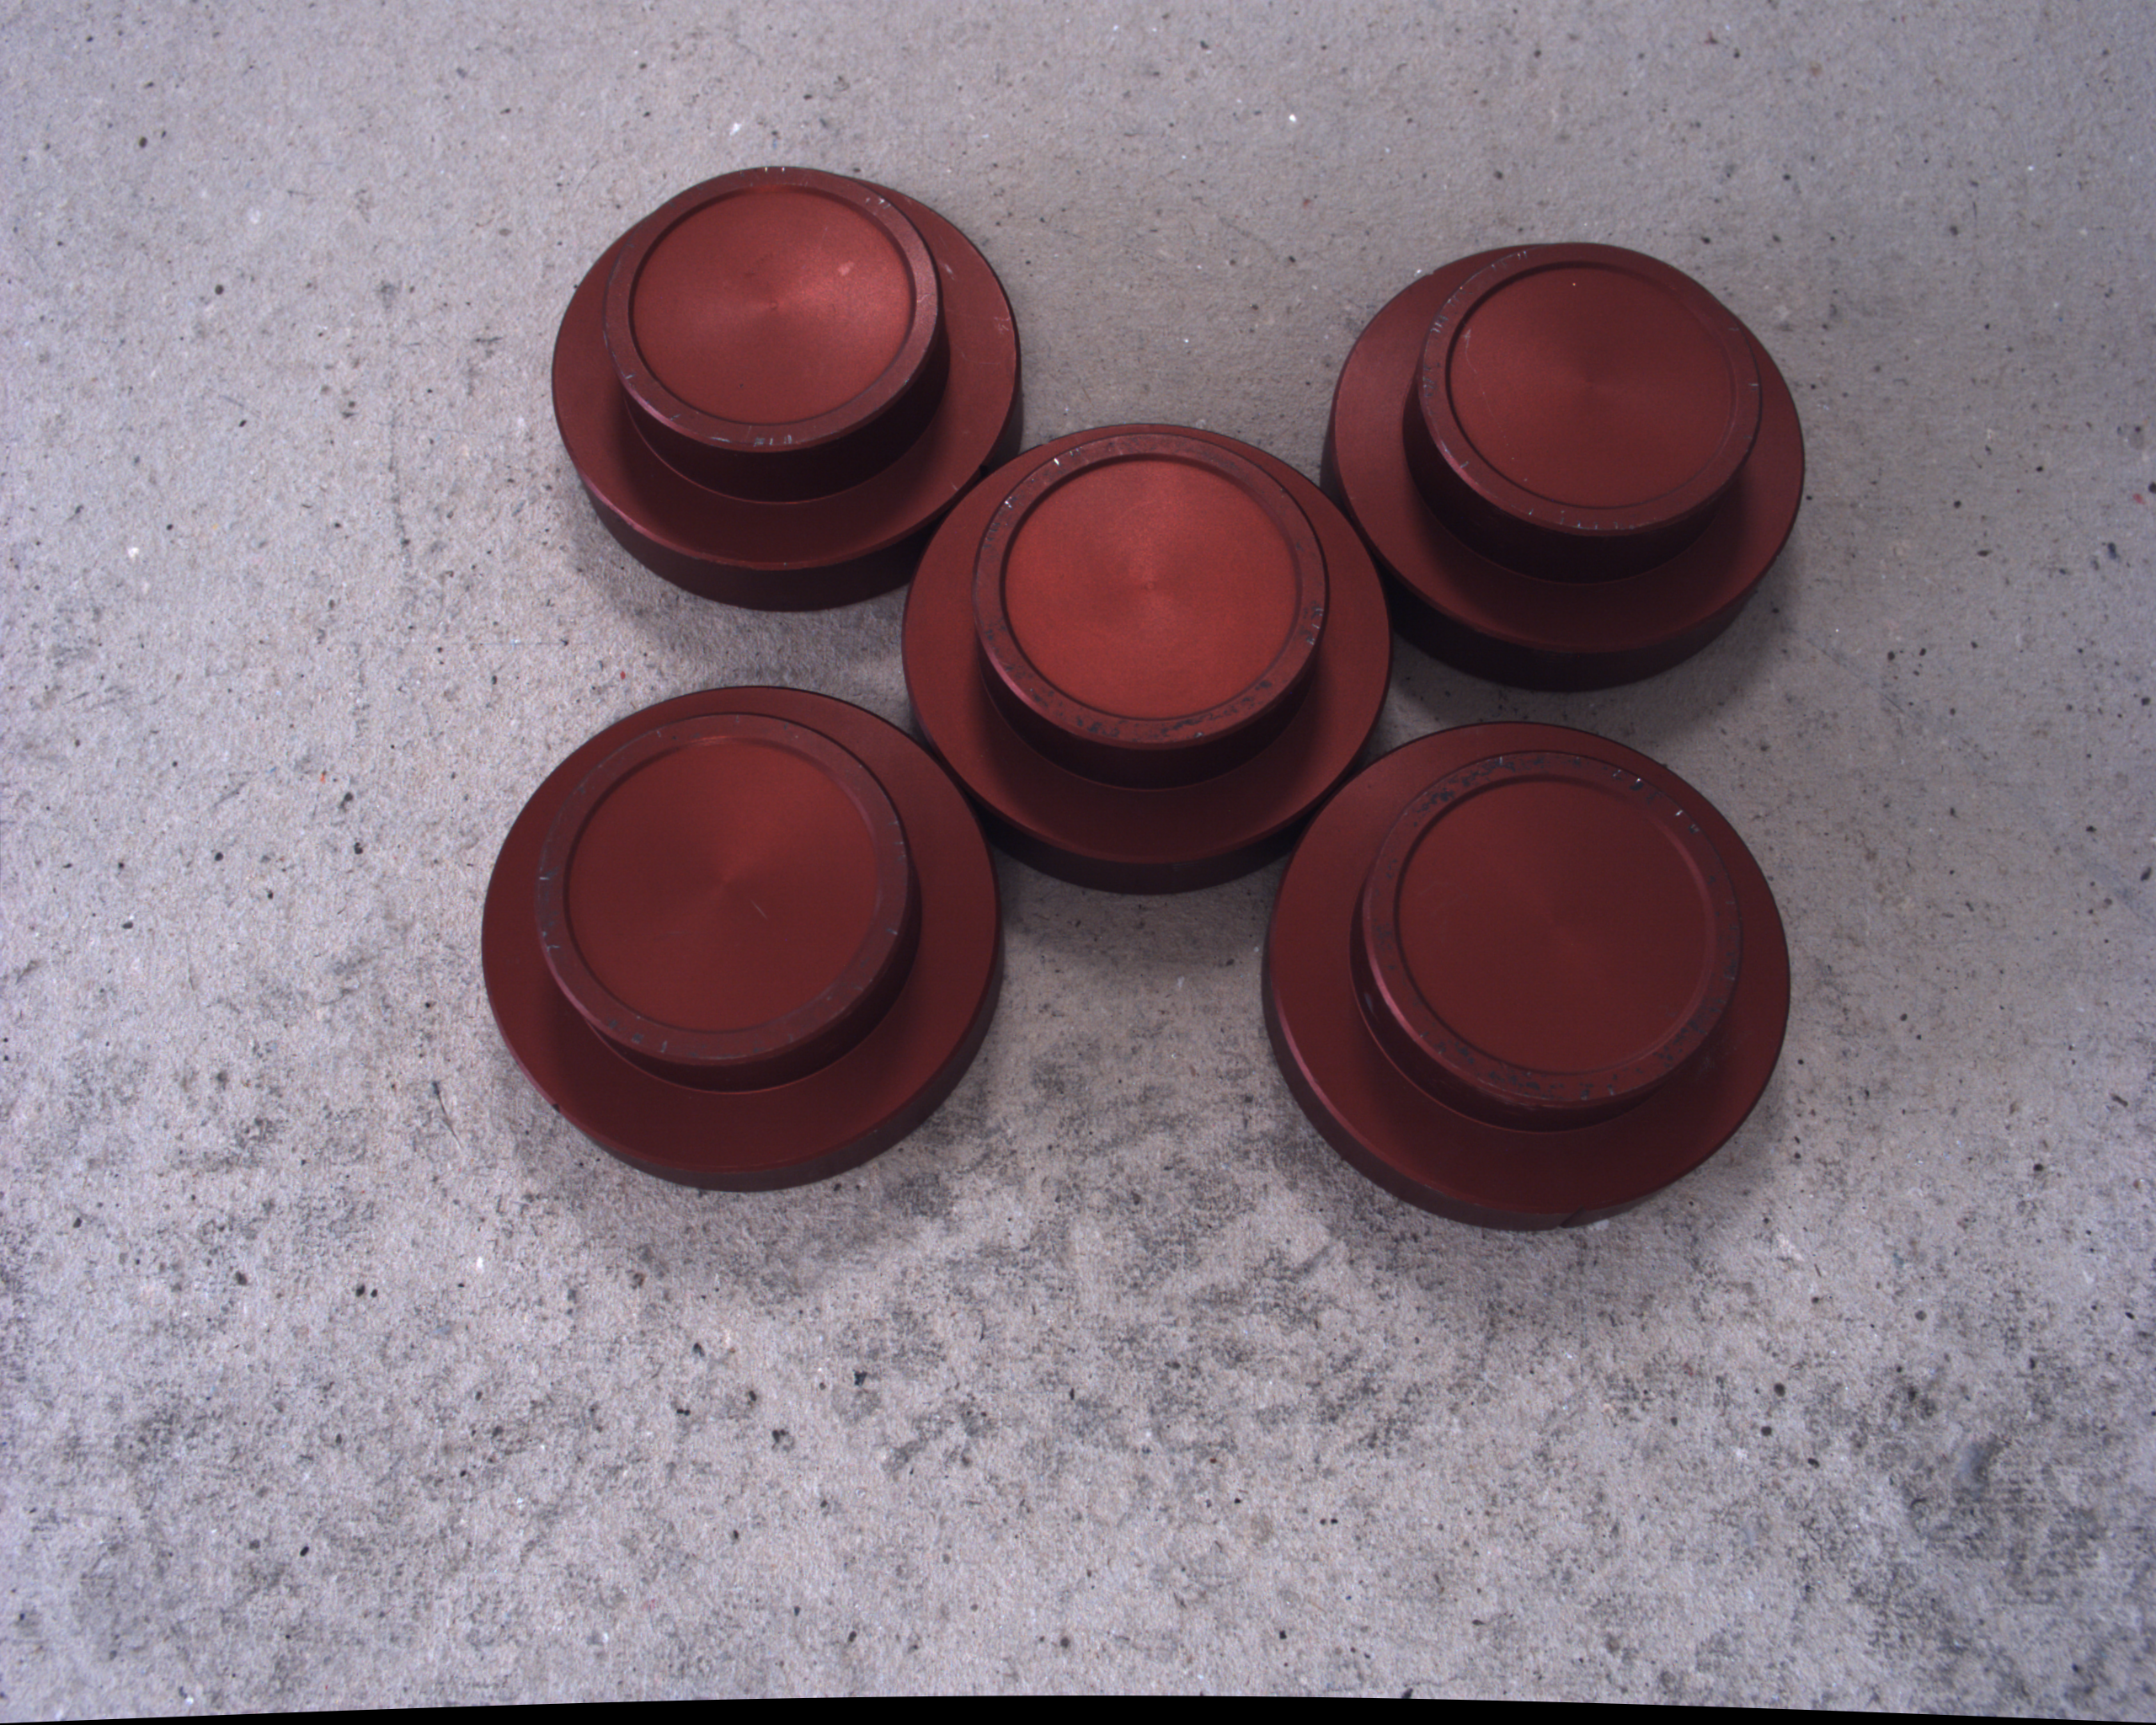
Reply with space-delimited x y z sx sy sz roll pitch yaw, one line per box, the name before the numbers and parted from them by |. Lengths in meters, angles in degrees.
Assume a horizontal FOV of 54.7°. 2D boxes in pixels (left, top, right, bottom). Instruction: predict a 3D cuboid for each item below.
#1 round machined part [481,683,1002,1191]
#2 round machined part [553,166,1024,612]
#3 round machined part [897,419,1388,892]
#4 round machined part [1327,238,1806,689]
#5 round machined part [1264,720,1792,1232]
round machined part | -0.064 0.010 0.396 0.099 0.042 0.098 0 71 -1
round machined part | -0.061 -0.105 0.438 0.099 0.042 0.098 0 70 0
round machined part | 0.013 -0.046 0.417 0.099 0.042 0.098 0 72 1
round machined part | 0.102 -0.089 0.432 0.099 0.042 0.098 0 72 1
round machined part | 0.086 0.018 0.394 0.099 0.042 0.098 0 72 1
